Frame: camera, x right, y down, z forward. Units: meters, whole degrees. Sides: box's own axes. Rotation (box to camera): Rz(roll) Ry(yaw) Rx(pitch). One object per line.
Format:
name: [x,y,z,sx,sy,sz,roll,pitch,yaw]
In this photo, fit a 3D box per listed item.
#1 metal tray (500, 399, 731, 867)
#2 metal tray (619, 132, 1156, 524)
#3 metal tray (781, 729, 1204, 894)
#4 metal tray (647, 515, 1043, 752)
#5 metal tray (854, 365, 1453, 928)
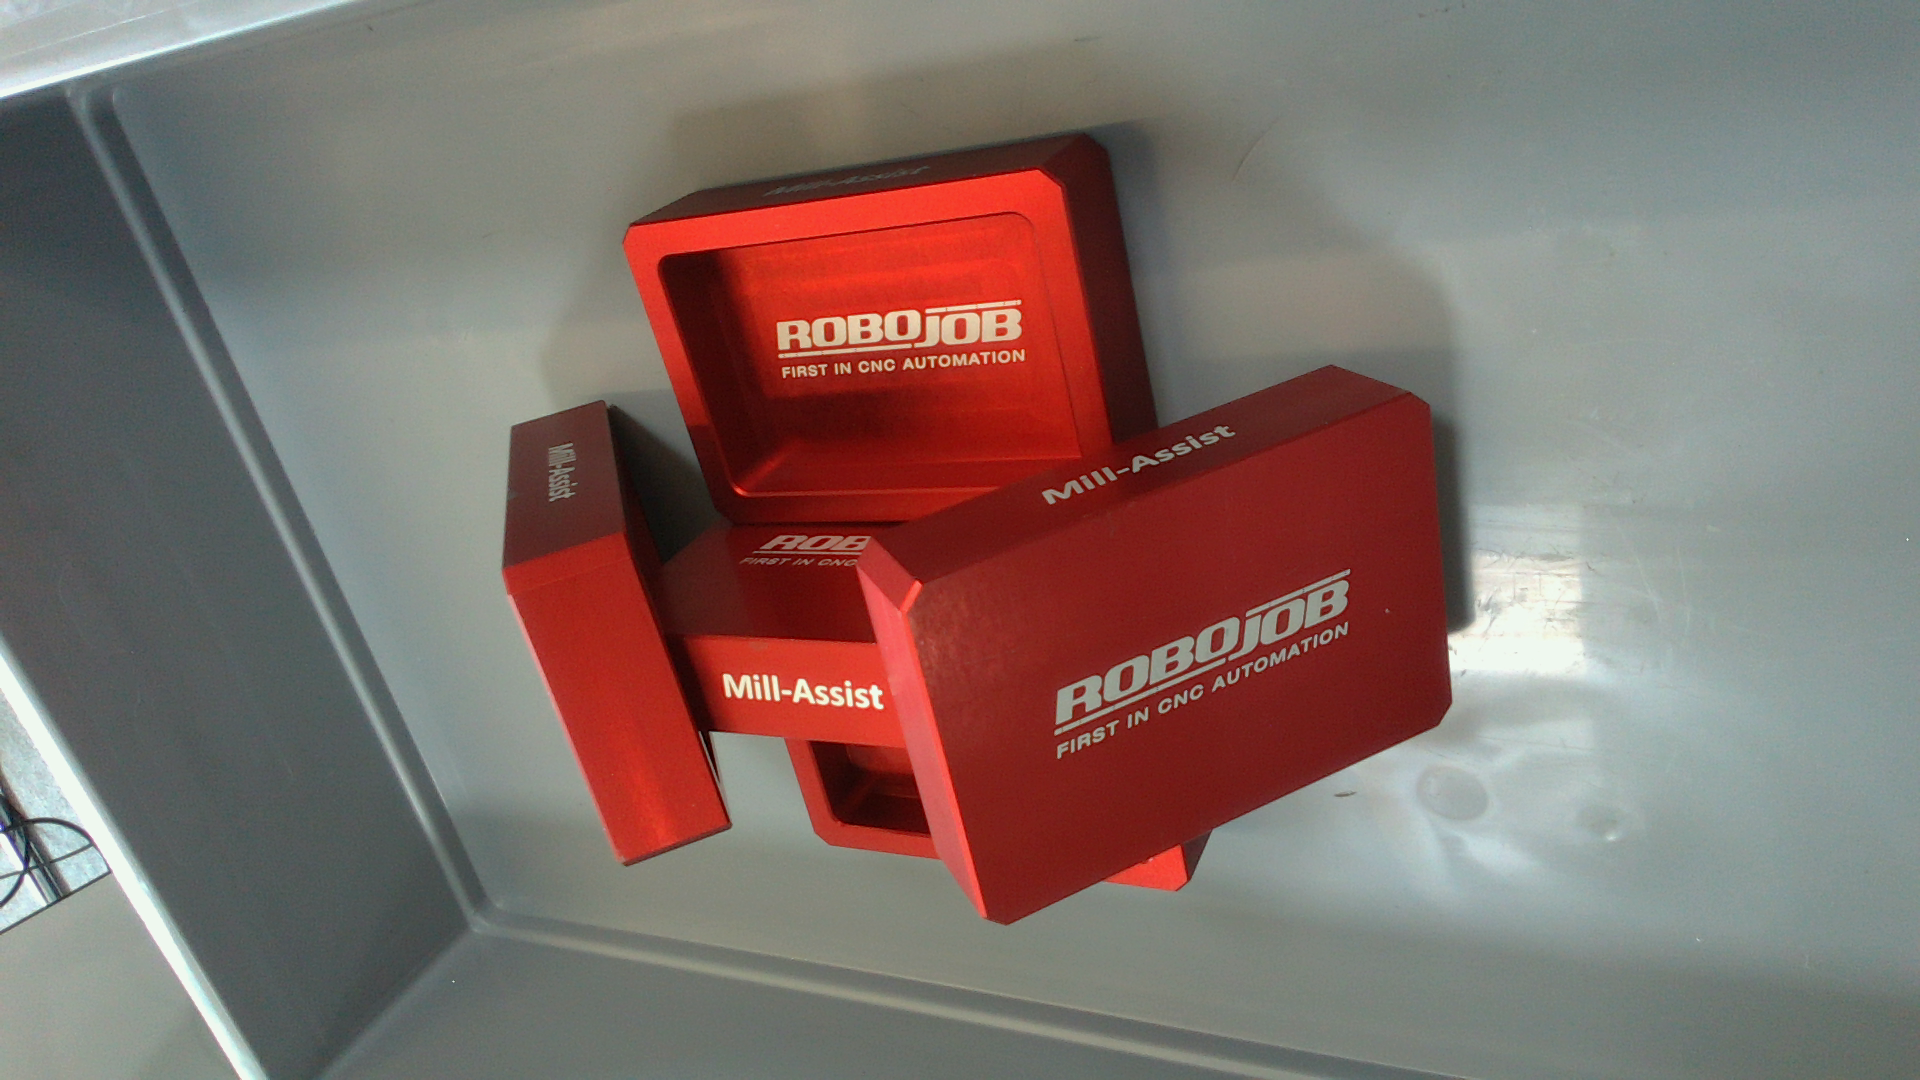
metal tray: [-0.101,0.021,0.399,0.030,0.130,0.090,-18,115,-9]
metal tray: [-0.019,-0.051,0.366,0.130,0.030,0.090,-1,119,28]
metal tray: [0.005,0.056,0.418,0.130,0.030,0.090,0,118,27]
metal tray: [-0.021,0.016,0.371,0.130,0.090,0.030,0,118,28]
metal tray: [0.050,0.023,0.319,0.030,0.130,0.090,-139,32,-60]
